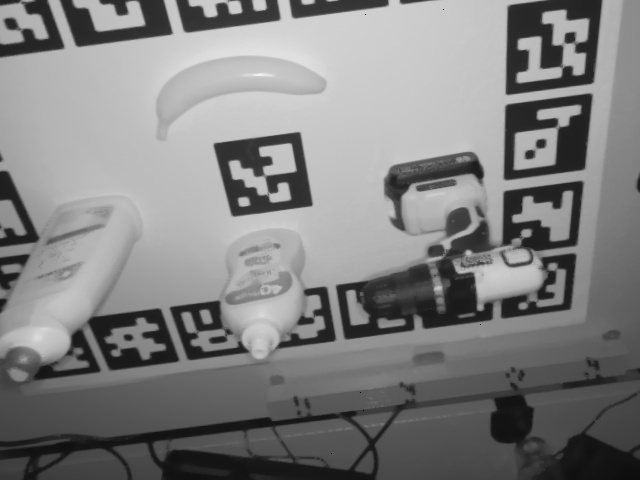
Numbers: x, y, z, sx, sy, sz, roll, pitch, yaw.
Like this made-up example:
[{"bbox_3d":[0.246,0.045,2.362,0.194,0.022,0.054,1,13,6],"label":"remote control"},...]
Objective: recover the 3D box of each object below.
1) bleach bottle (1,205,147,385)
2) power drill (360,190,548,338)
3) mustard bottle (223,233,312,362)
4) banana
[{"bbox_3d":[-0.257,0.052,0.727,0.103,0.252,0.067,1,122,-2],"label":"bleach bottle"},{"bbox_3d":[0.123,0.023,0.732,0.185,0.188,0.057,-13,122,1],"label":"power drill"},{"bbox_3d":[-0.060,0.067,0.785,0.096,0.193,0.058,-12,122,8],"label":"mustard bottle"},{"bbox_3d":[-0.083,-0.146,0.728,0.197,0.039,0.074,-12,120,1],"label":"banana"}]
